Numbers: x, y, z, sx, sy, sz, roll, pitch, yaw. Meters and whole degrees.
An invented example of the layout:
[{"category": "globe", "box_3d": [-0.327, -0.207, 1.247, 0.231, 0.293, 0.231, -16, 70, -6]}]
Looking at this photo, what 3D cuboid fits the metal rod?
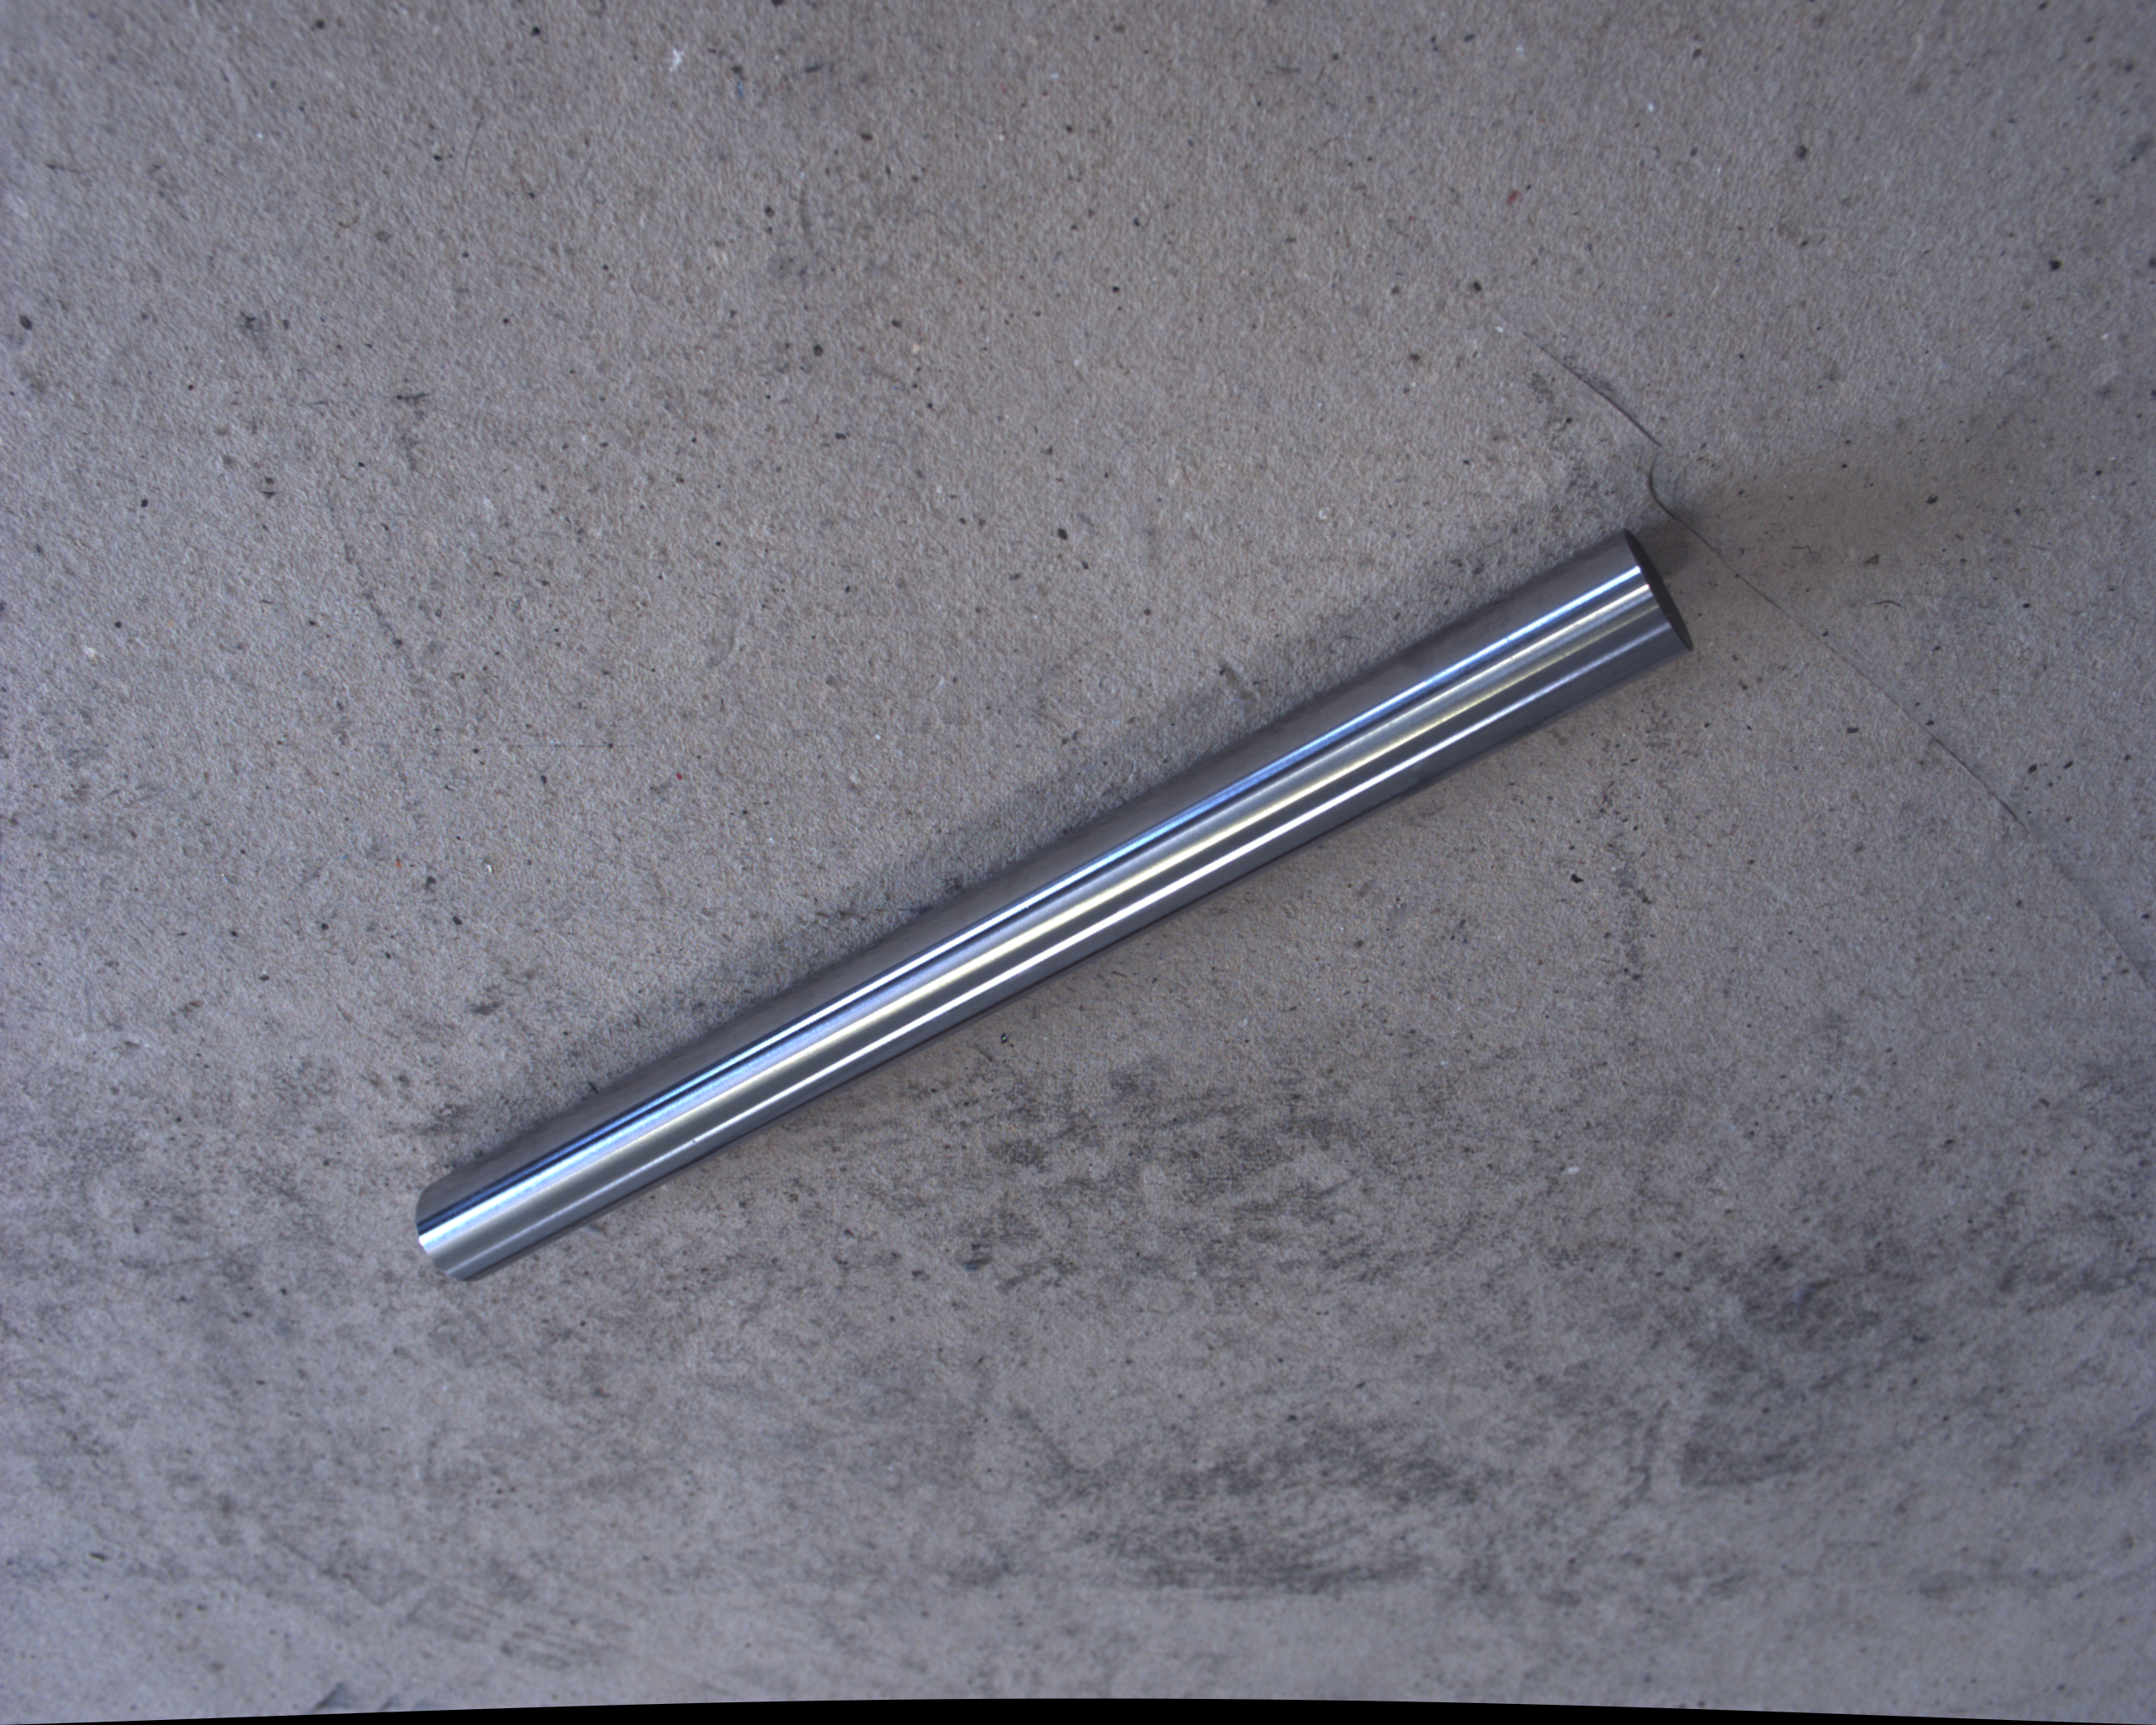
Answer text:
[{"category": "metal rod", "box_3d": [-0.020, 0.018, 0.424, 0.300, 0.025, 0.025, -28, 125, 22]}]
